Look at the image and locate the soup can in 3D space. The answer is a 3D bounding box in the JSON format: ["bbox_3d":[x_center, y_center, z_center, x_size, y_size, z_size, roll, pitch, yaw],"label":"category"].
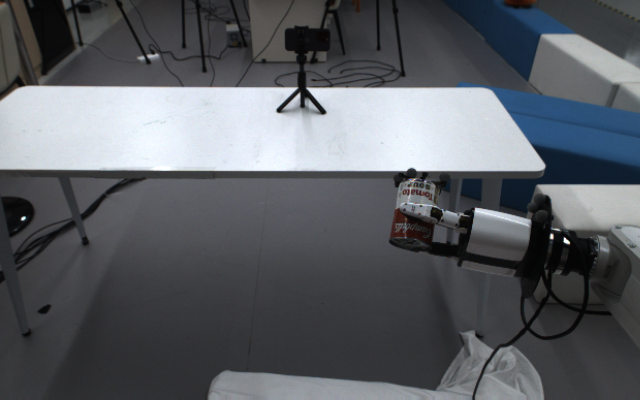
[{"bbox_3d":[0.153,0.022,0.777,0.067,0.067,0.101,9,72,10],"label":"soup can"}]
